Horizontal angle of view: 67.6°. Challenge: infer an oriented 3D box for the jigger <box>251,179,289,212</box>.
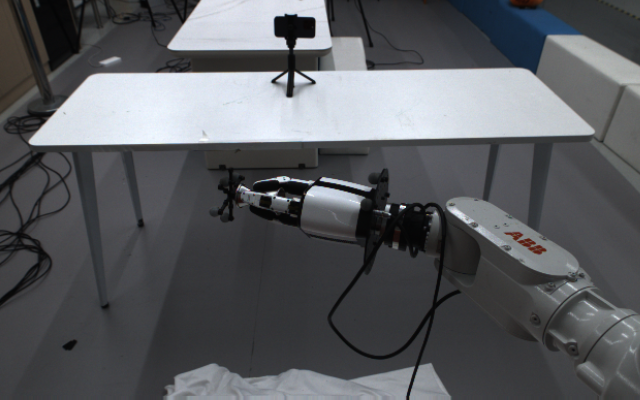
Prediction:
[{"bbox_3d":[-0.088,-0.006,0.756,0.071,0.043,0.043,7,35,15],"label":"jigger"}]
